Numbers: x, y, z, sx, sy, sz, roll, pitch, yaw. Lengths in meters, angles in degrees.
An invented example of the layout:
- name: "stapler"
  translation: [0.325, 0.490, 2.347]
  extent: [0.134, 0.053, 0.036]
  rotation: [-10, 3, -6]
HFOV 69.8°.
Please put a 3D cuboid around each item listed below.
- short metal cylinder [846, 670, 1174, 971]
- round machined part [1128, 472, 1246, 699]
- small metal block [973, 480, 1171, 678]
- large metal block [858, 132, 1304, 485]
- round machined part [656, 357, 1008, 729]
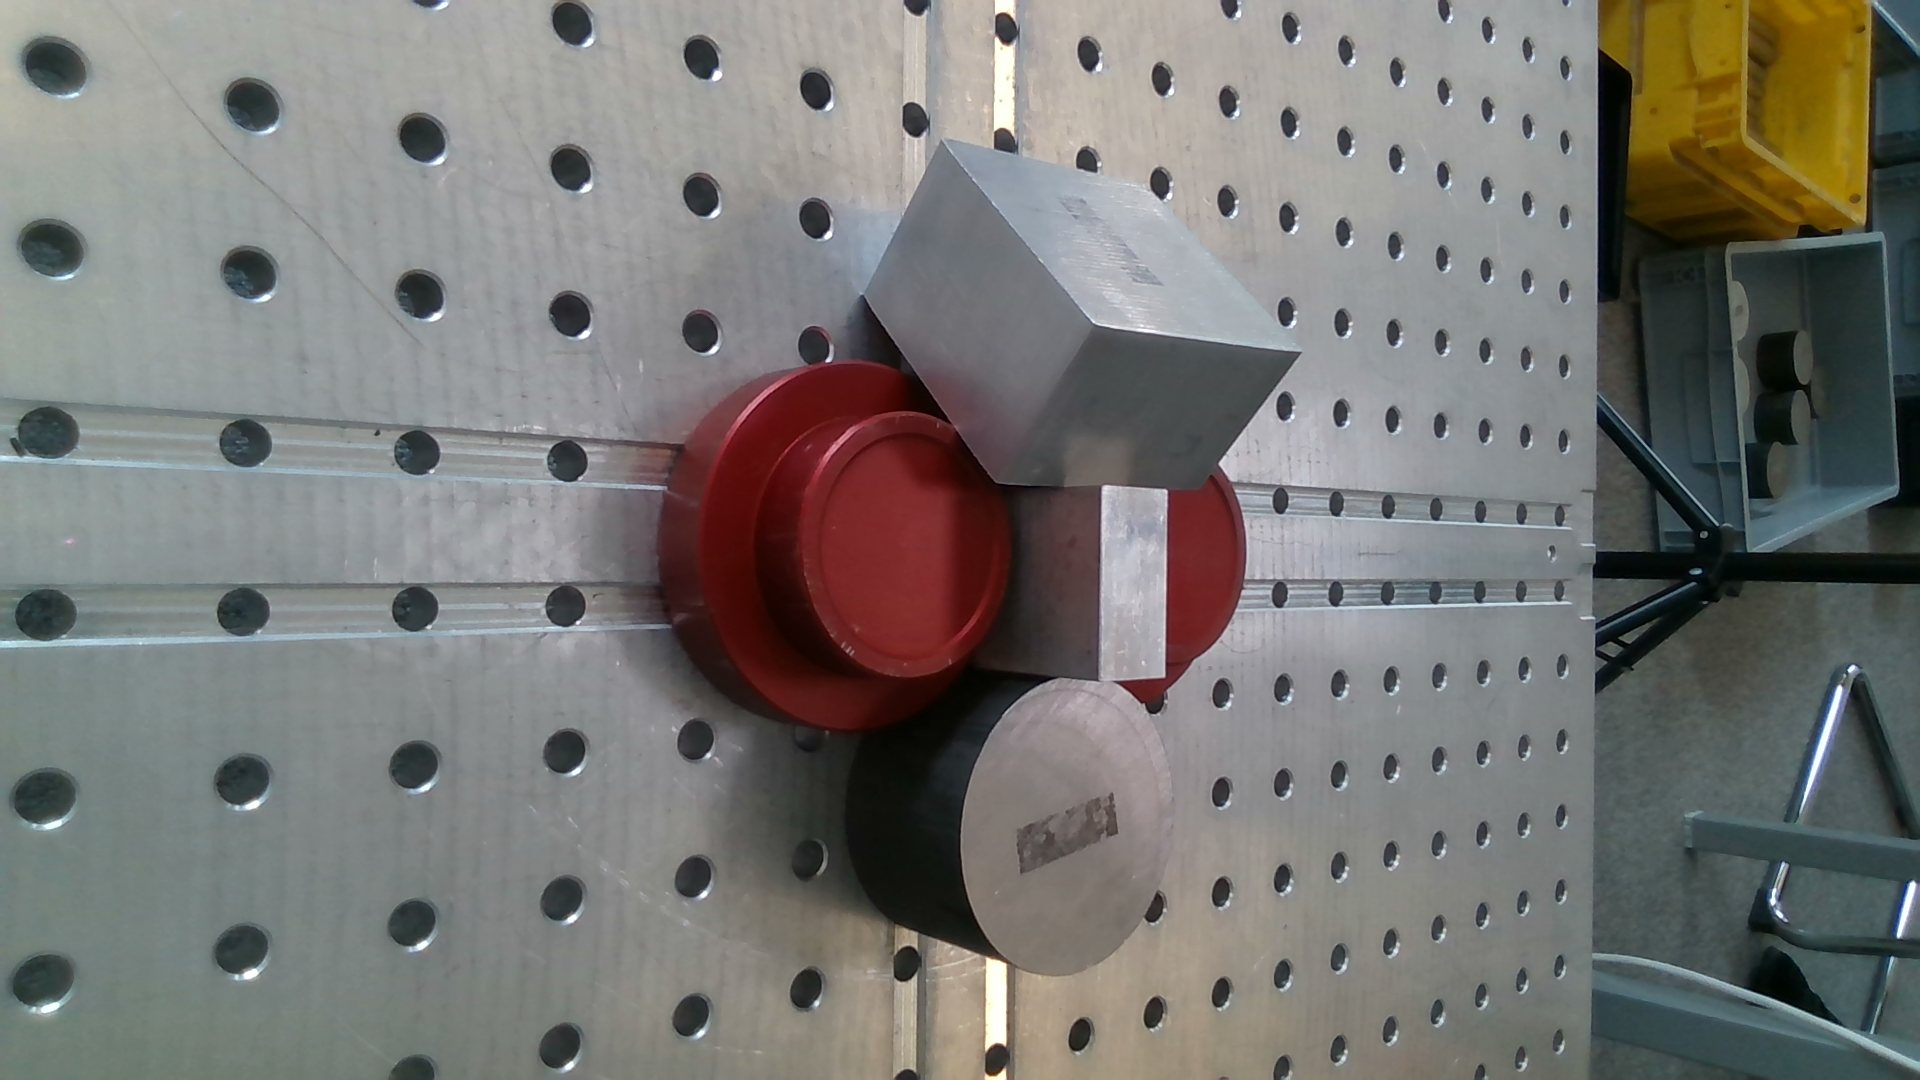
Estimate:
- name: "short metal cylinder"
  translation: [0.015, 0.075, 0.390]
  extent: [0.080, 0.050, 0.080]
  rotation: [0, 90, -40]
- name: "round machined part"
  translation: [0.051, 0.003, 0.427]
  extent: [0.098, 0.042, 0.098]
  rotation: [0, 90, -40]
- name: "small metal block"
  translation: [0.030, 0.010, 0.374]
  extent: [0.025, 0.050, 0.050]
  rotation: [2, 89, -40]
- name: "large metal block"
  translation: [0.032, -0.061, 0.378]
  extent: [0.080, 0.080, 0.050]
  rotation: [-1, 135, -40]
- name: "round machined part"
  translation: [-0.026, 0.001, 0.362]
  extent: [0.098, 0.042, 0.098]
  rotation: [0, 90, -40]
